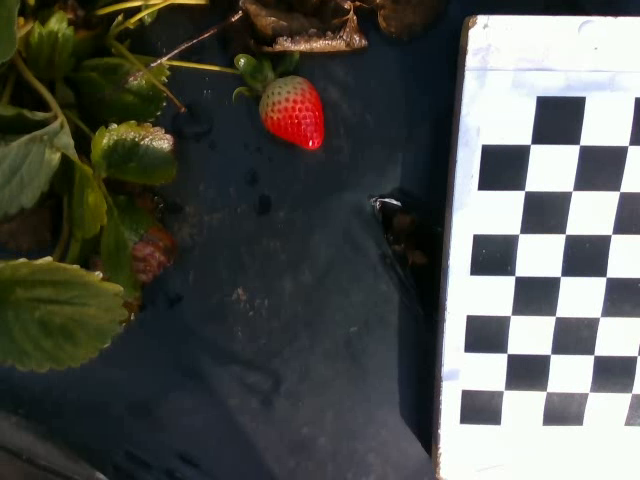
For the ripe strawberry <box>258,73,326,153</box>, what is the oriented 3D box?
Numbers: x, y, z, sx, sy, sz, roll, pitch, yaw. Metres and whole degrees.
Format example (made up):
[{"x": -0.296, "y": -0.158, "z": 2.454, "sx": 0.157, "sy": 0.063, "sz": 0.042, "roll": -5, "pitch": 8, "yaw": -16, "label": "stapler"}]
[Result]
[{"x": -0.013, "y": -0.063, "z": 0.313, "sx": 0.035, "sy": 0.043, "sz": 0.030, "roll": -35, "pitch": 10, "yaw": 11, "label": "ripe strawberry"}]
